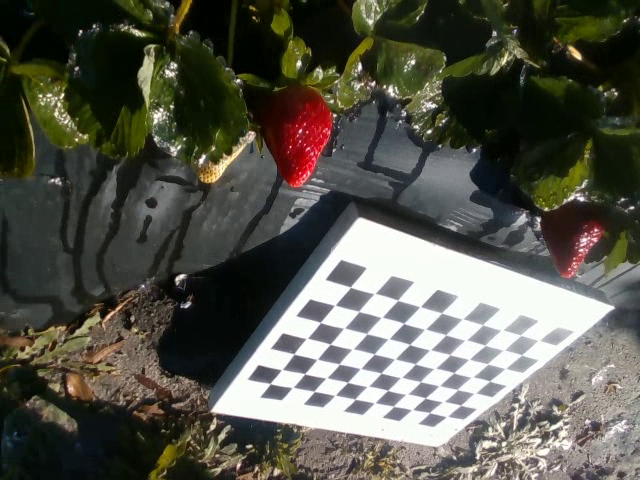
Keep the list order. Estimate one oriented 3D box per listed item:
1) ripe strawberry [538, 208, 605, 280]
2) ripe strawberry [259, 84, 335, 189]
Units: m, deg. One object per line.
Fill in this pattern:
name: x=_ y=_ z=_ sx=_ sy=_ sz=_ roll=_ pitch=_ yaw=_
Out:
ripe strawberry: x=0.187 y=0.001 z=0.445 sx=0.048 sy=0.061 sz=0.044 roll=12 pitch=9 yaw=-22
ripe strawberry: x=-0.015 y=-0.056 z=0.354 sx=0.042 sy=0.061 sz=0.046 roll=6 pitch=1 yaw=-17
